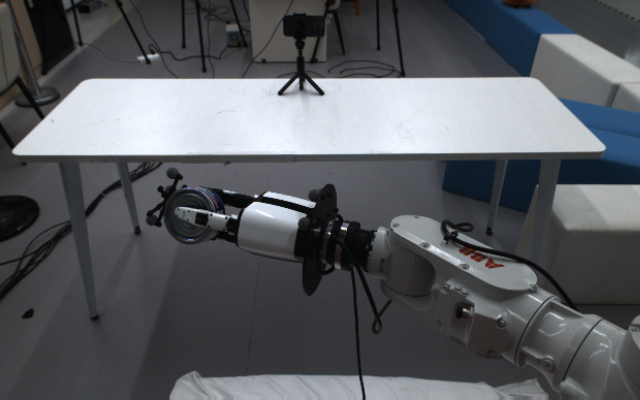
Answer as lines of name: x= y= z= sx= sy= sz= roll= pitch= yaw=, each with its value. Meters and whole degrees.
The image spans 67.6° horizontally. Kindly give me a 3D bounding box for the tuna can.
tuna can: x=-0.184 y=0.023 z=0.716 sx=0.085 sy=0.085 sz=0.034 roll=10 pitch=6 yaw=11
